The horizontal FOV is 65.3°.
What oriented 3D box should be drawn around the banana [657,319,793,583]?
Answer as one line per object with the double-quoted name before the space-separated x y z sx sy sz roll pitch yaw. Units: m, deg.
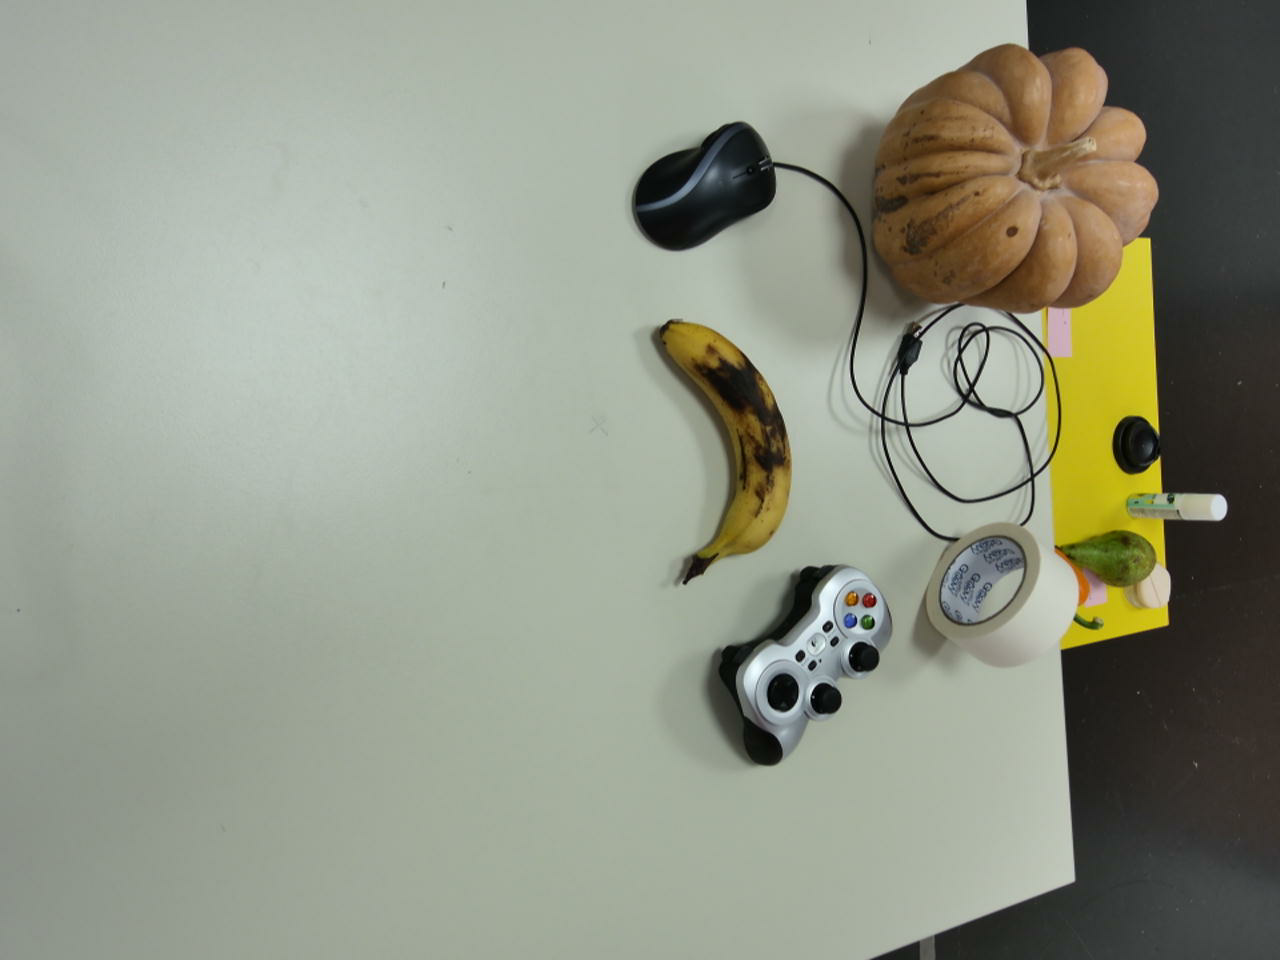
"banana" 0.066 -0.026 0.725 0.094 0.039 0.187 -6 94 -28
